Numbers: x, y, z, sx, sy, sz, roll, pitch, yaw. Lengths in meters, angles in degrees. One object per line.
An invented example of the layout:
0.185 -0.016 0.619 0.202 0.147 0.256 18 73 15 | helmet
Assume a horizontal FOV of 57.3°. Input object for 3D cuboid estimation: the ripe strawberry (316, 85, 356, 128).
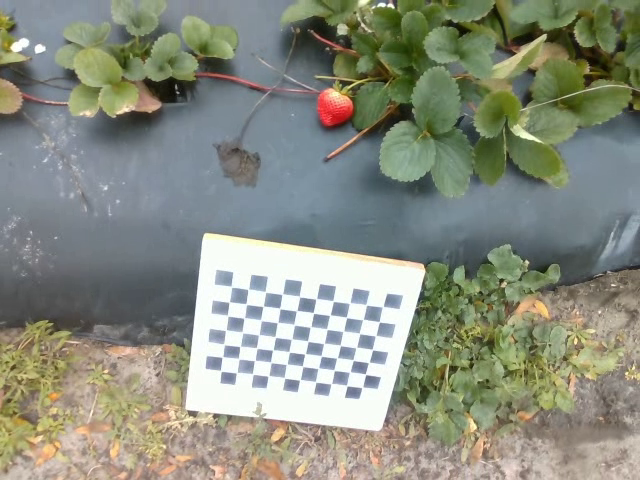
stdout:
0.018 -0.200 0.887 0.061 0.065 0.050 17 17 -13 | ripe strawberry
